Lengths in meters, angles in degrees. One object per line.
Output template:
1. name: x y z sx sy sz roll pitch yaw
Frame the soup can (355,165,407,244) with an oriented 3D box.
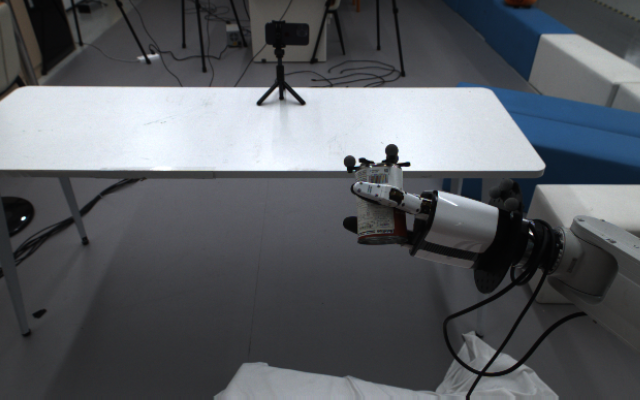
1. soup can: 0.085 0.007 0.663 0.067 0.067 0.101 -2 76 -5
